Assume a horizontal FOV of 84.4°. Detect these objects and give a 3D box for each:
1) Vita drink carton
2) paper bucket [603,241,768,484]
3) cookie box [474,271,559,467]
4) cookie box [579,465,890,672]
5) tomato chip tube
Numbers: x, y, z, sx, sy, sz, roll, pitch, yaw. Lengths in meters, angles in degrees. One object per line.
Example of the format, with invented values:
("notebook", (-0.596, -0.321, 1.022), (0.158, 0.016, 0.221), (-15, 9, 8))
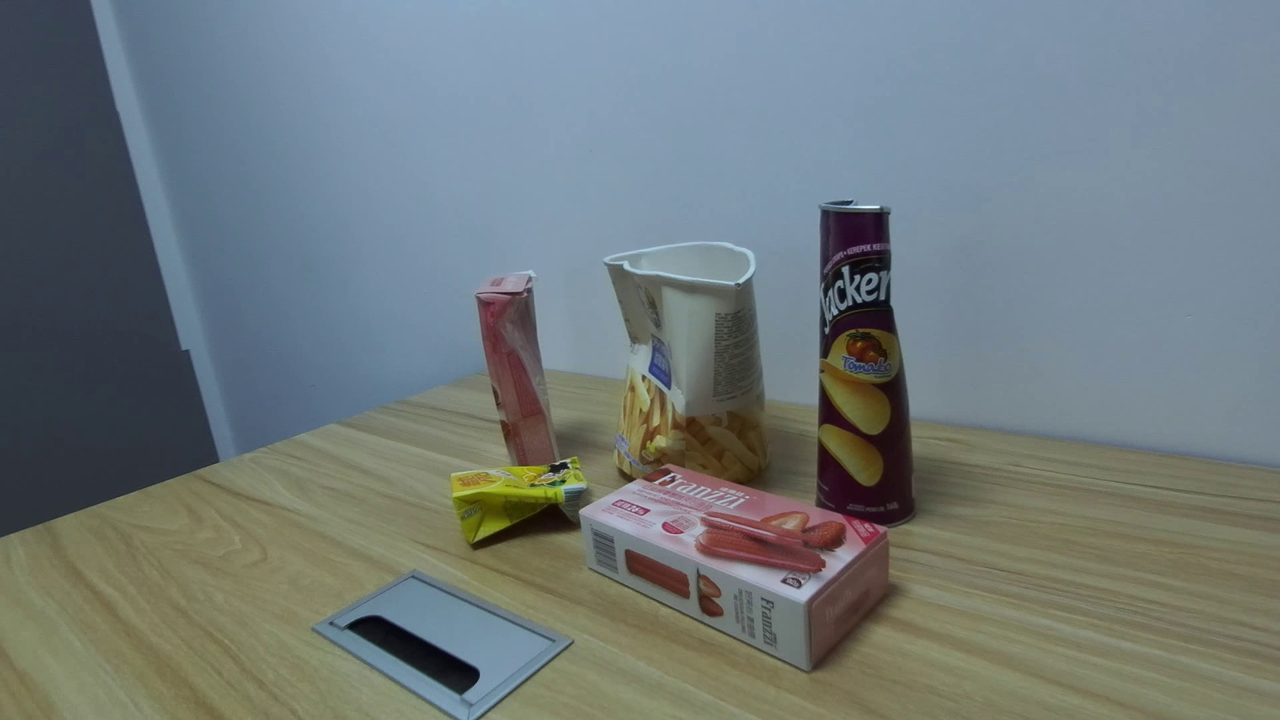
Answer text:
("Vita drink carton", (-0.097, 0.113, 0.581), (0.108, 0.042, 0.087), (-6, 7, -15))
("paper bucket", (0.041, 0.002, 0.639), (0.217, 0.199, 0.148), (8, 20, 43))
("cookie box", (-0.112, 0.016, 0.677), (0.055, 0.184, 0.118), (-7, 16, -4))
("cookie box", (0.057, 0.125, 0.467), (0.183, 0.048, 0.096), (10, 22, 43))
("tomato chip tube", (0.166, 0.003, 0.525), (0.078, 0.235, 0.076), (-17, 18, -40))
